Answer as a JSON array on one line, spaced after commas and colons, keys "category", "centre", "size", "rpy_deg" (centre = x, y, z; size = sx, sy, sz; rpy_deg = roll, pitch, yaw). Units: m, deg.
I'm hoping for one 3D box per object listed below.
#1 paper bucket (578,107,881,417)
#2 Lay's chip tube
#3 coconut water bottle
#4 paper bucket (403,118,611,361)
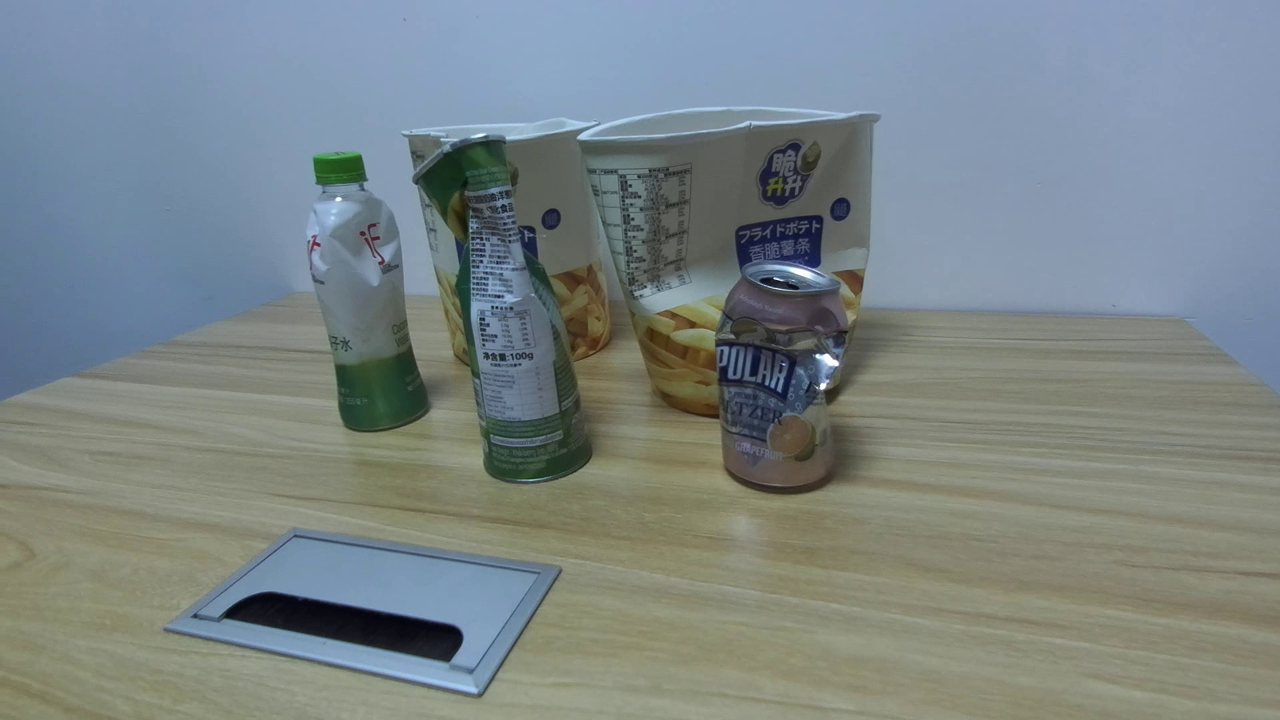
[{"category": "paper bucket", "centre": [0.077, -0.076, 0.511], "size": [0.147, 0.199, 0.218], "rpy_deg": [9, 25, 29]}, {"category": "Lay's chip tube", "centre": [-0.081, -0.028, 0.420], "size": [0.071, 0.199, 0.079], "rpy_deg": [-8, 19, 10]}, {"category": "coconut water bottle", "centre": [-0.194, -0.046, 0.494], "size": [0.067, 0.187, 0.067], "rpy_deg": [-2, 21, 1]}, {"category": "paper bucket", "centre": [-0.104, -0.106, 0.622], "size": [0.146, 0.197, 0.202], "rpy_deg": [-15, 24, -25]}]
